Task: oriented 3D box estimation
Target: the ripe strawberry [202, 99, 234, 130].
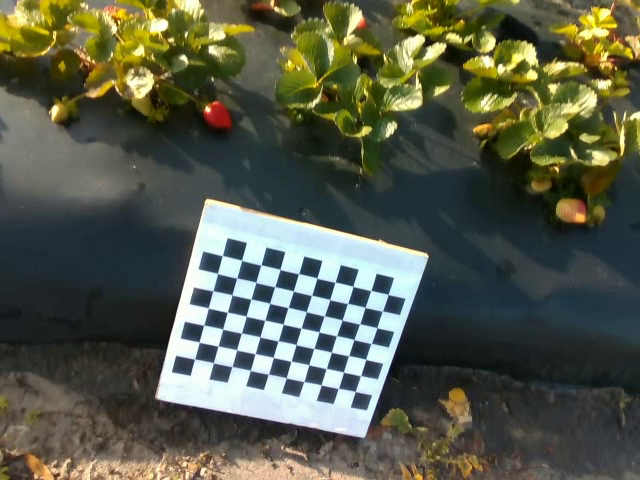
[{"bbox_3d":[-0.116,-0.148,0.583,0.030,0.045,0.033,-45,-19,11],"label":"ripe strawberry"}]
